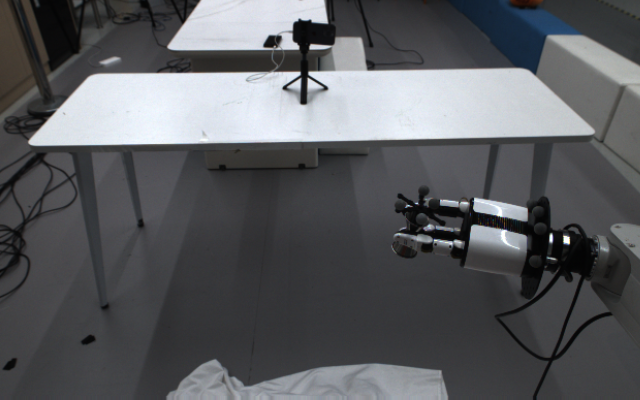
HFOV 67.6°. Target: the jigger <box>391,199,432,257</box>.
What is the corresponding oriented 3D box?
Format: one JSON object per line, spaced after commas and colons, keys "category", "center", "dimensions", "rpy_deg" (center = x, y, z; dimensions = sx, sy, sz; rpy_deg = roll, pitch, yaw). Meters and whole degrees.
{"category": "jigger", "center": [0.145, 0.053, 0.781], "dimensions": [0.043, 0.071, 0.043], "rpy_deg": [10, 35, -7]}
